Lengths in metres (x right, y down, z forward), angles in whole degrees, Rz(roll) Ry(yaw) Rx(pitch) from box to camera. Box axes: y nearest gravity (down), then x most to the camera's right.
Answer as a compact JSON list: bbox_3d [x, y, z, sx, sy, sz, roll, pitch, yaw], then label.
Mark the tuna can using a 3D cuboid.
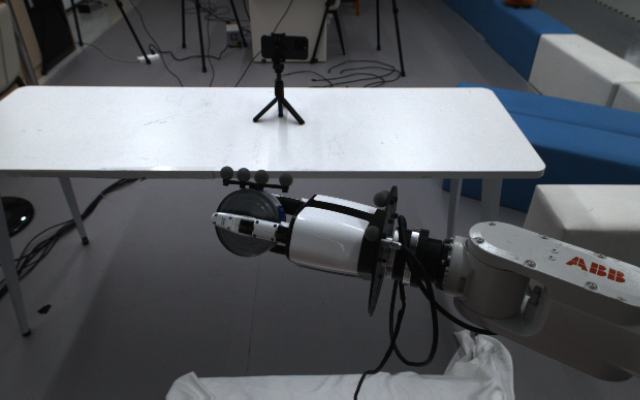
[{"bbox_3d":[-0.086,0.027,0.613,0.085,0.085,0.034,12,1,13],"label":"tuna can"}]
